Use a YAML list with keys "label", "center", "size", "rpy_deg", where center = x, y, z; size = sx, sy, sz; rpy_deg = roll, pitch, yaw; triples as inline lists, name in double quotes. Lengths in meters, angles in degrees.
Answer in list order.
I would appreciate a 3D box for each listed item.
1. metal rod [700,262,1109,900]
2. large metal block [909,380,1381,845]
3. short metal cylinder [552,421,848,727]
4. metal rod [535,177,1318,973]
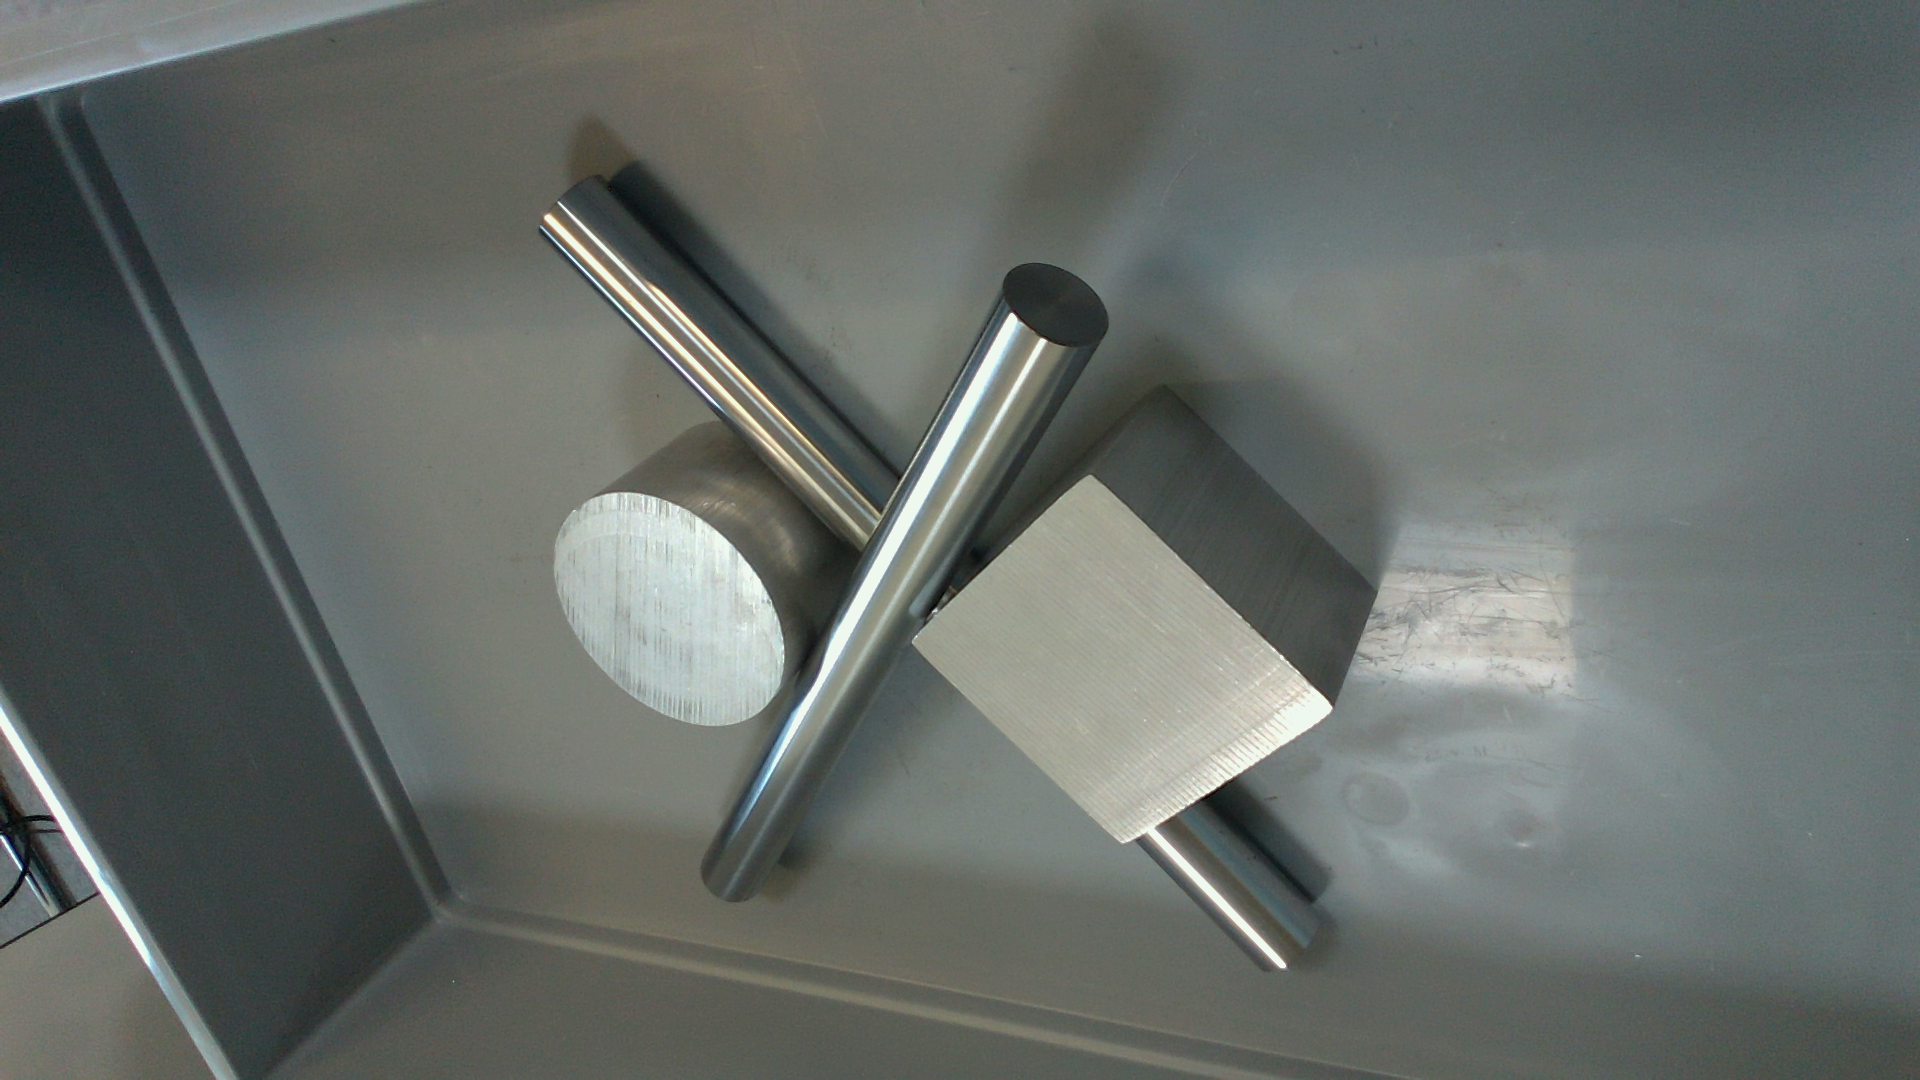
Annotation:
- label: "metal rod"
  center: [-0.032, 0.036, 0.404]
  size: [0.025, 0.025, 0.299]
  rpy_deg: [36, 138, 4]
- label: "large metal block"
  center: [0.048, 0.020, 0.361]
  size: [0.080, 0.050, 0.080]
  rpy_deg: [44, 129, -2]
- label: "short metal cylinder"
  center: [-0.076, 0.010, 0.422]
  size: [0.080, 0.050, 0.080]
  rpy_deg: [13, 124, 21]
- label: "metal rod"
  center: [-0.007, 0.013, 0.402]
  size: [0.300, 0.025, 0.025]
  rpy_deg: [46, 129, -4]
